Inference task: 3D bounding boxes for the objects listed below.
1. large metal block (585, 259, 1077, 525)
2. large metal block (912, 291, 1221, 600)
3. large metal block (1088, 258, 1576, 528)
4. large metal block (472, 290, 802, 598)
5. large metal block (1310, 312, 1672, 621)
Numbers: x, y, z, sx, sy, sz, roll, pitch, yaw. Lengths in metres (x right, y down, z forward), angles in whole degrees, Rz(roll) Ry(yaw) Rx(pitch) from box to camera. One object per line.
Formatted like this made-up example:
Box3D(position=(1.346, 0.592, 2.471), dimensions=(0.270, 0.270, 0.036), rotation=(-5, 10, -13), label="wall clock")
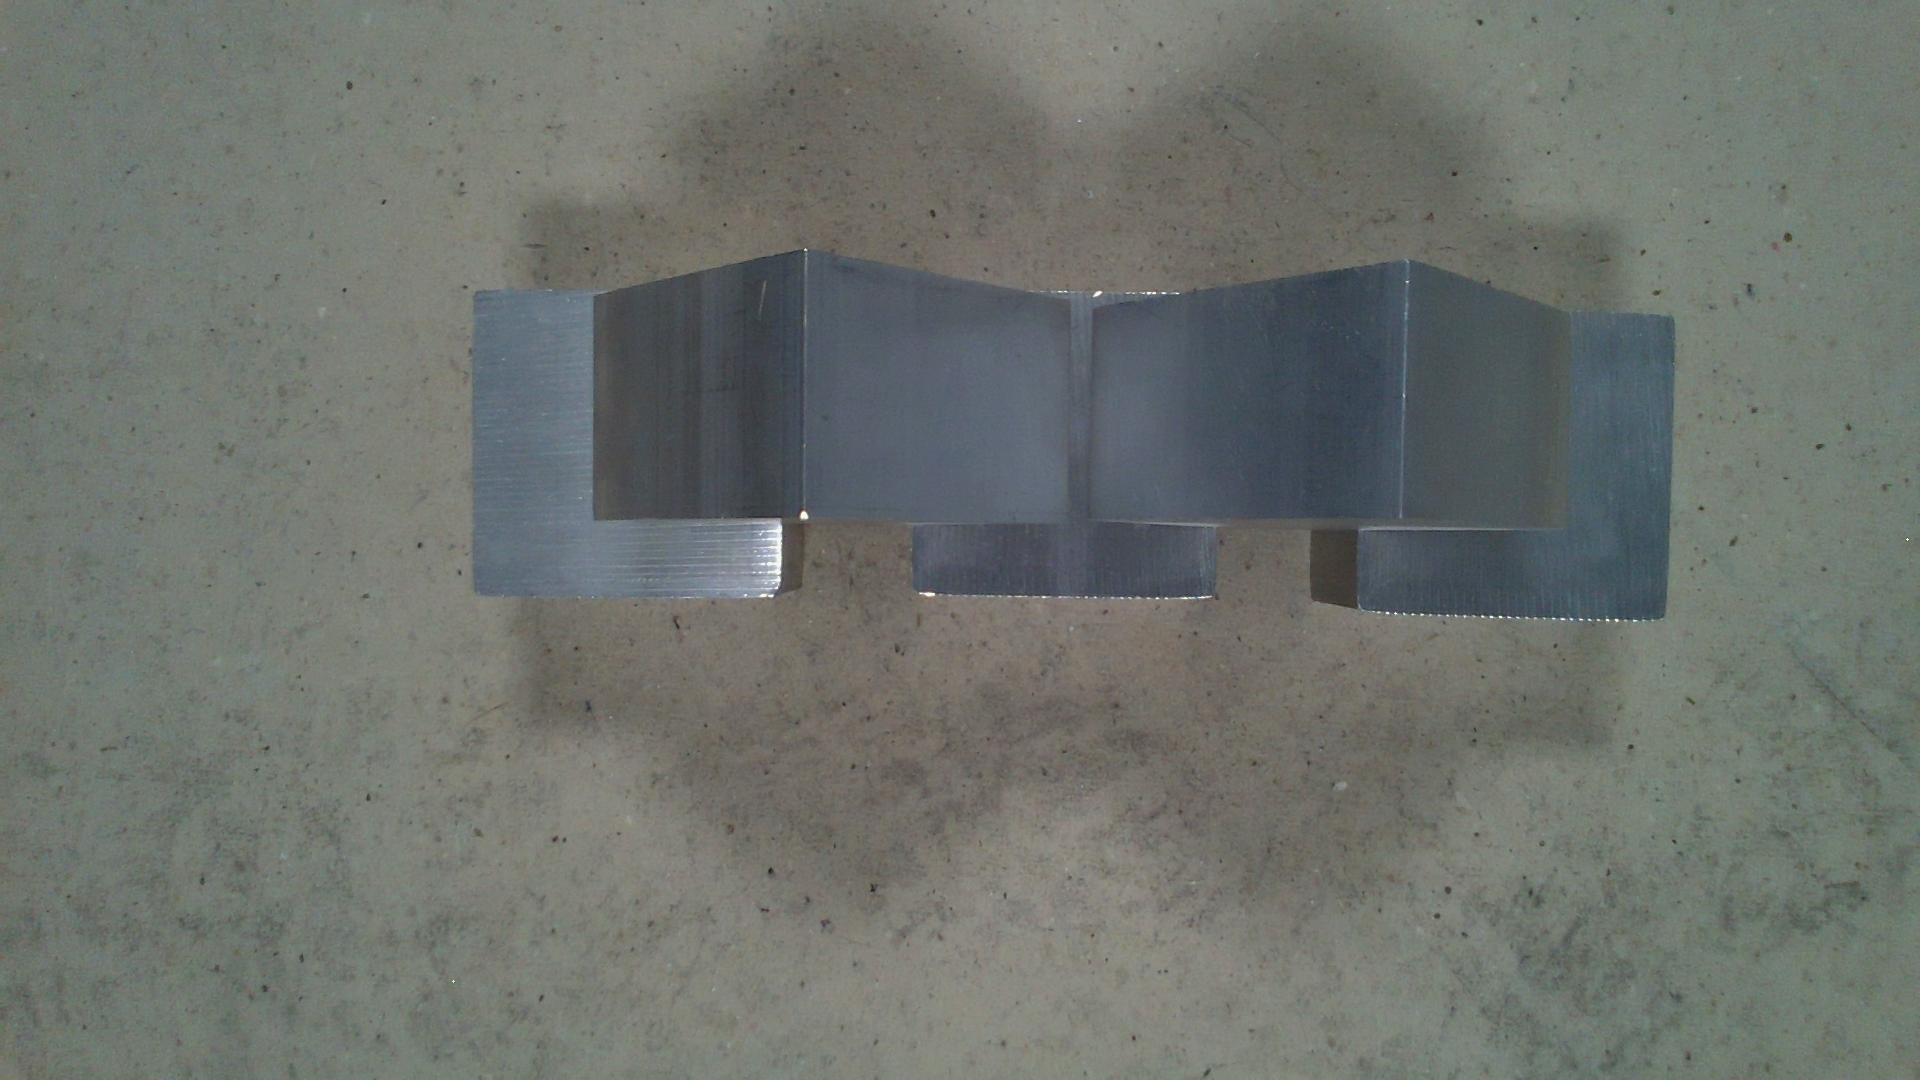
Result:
Box3D(position=(-0.030, -0.029, 0.318), dimensions=(0.080, 0.080, 0.050), rotation=(-1, 91, -45), label="large metal block")
Box3D(position=(0.028, -0.025, 0.383), dimensions=(0.080, 0.050, 0.080), rotation=(1, 90, 0), label="large metal block")
Box3D(position=(0.087, -0.029, 0.320), dimensions=(0.080, 0.080, 0.050), rotation=(1, 90, 45), label="large metal block")
Box3D(position=(-0.087, -0.025, 0.383), dimensions=(0.080, 0.050, 0.080), rotation=(0, 90, 0), label="large metal block")
Box3D(position=(0.145, -0.020, 0.384), dimensions=(0.080, 0.050, 0.080), rotation=(1, 90, 0), label="large metal block")
